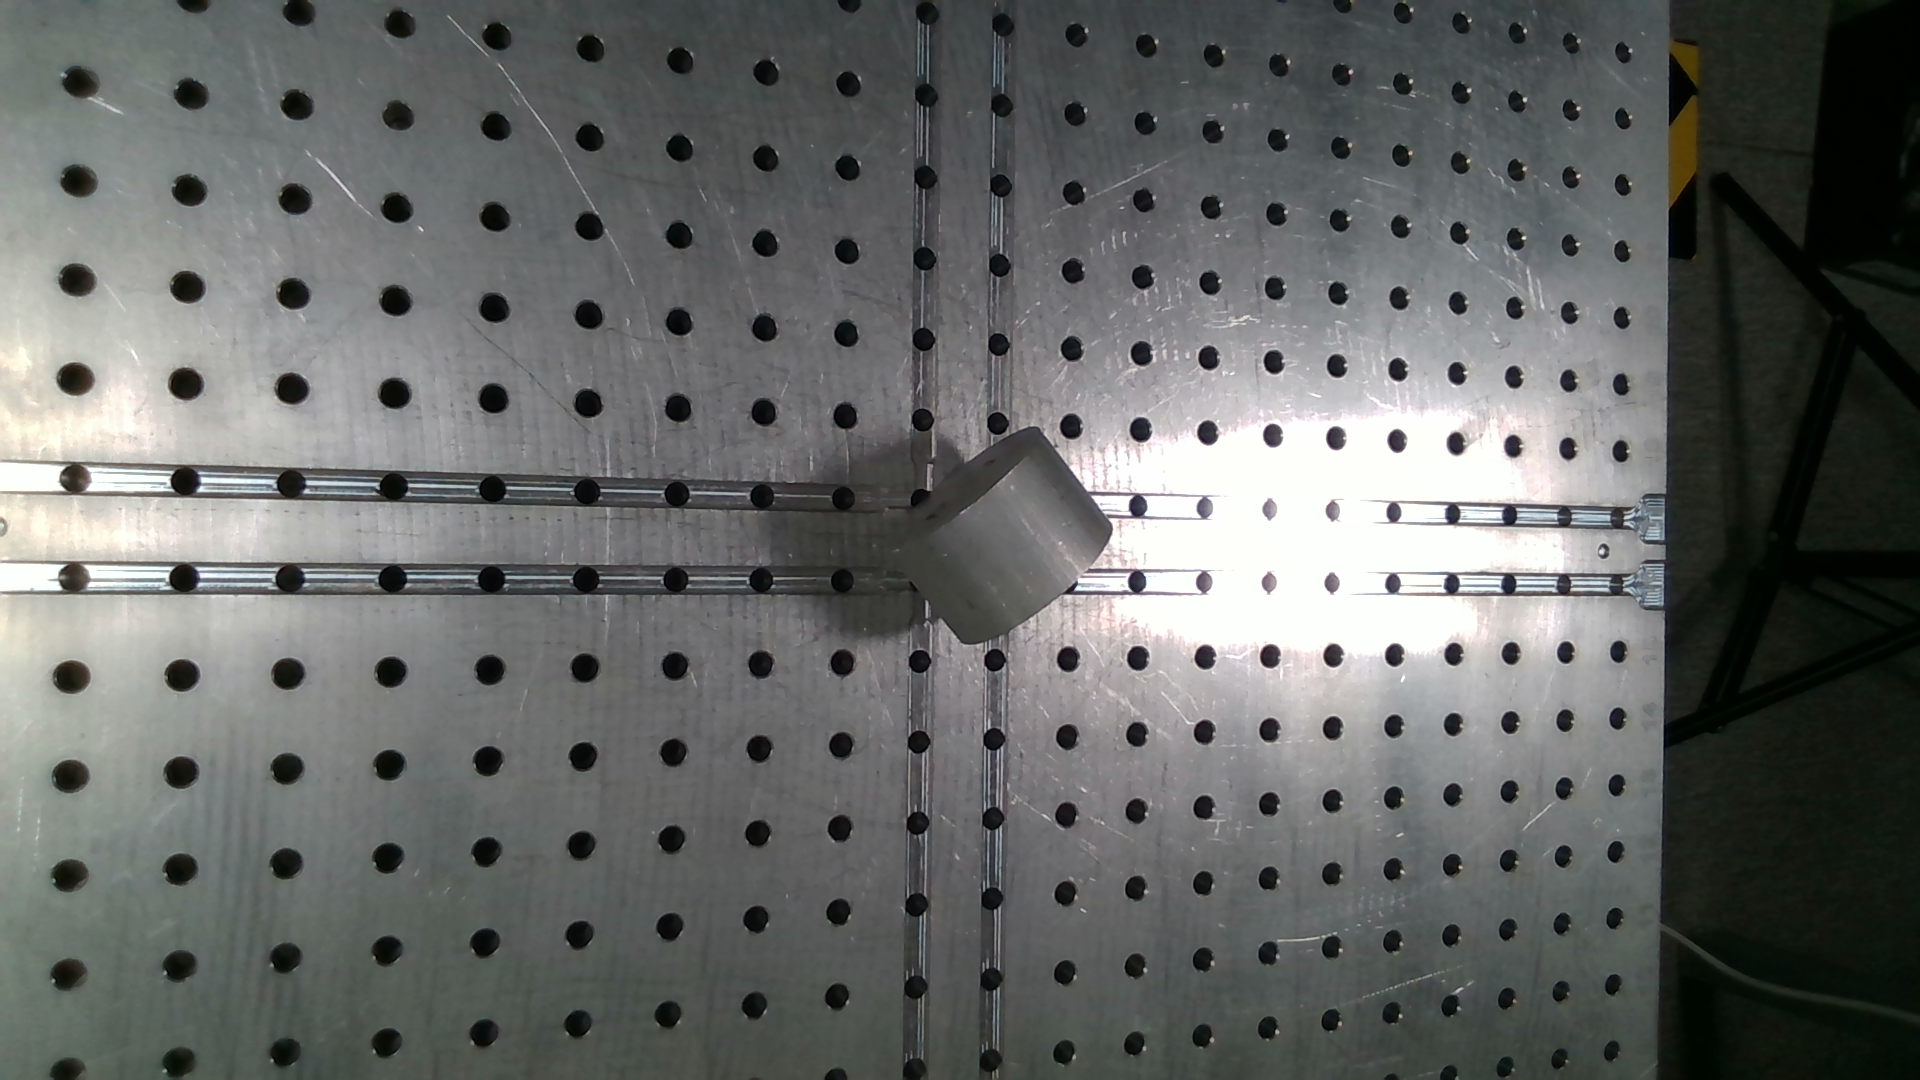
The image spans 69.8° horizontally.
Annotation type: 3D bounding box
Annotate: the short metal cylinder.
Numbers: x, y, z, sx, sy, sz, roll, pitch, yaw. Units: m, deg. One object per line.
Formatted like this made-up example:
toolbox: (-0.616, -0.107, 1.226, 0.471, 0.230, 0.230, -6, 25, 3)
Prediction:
short metal cylinder: (0.016, -0.002, 0.564, 0.080, 0.080, 0.050, -42, 103, -15)
